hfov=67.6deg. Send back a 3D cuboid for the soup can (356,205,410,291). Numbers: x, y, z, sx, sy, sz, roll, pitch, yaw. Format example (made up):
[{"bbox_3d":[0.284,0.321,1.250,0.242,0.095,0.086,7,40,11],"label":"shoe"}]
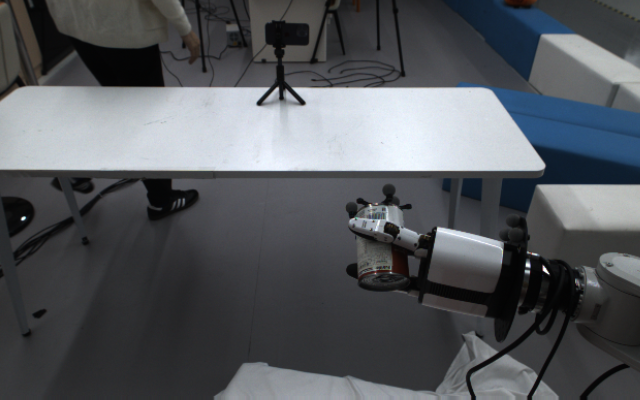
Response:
[{"bbox_3d":[0.084,0.063,0.647,0.067,0.067,0.101,1,62,-2],"label":"soup can"}]
